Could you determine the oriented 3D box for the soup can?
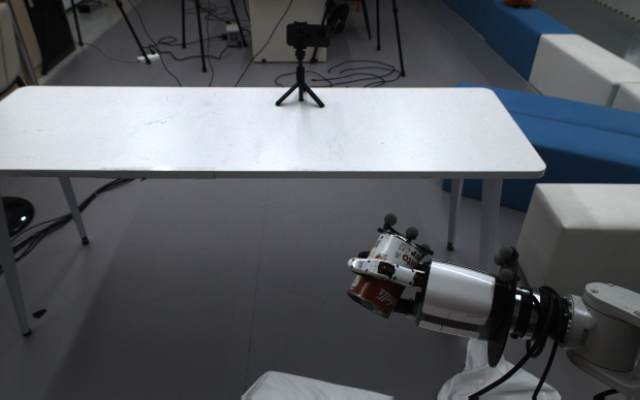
[{"bbox_3d":[0.091,0.103,0.672,0.067,0.067,0.101,24,72,28],"label":"soup can"}]
